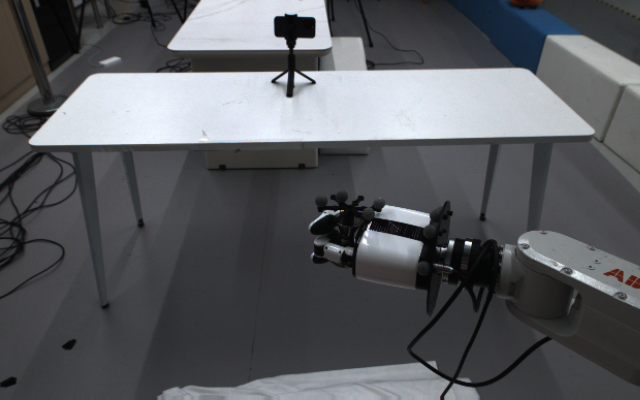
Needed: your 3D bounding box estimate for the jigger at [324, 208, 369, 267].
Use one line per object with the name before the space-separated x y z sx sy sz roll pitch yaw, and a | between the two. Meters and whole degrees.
jigger | 0.042 0.056 0.698 0.043 0.071 0.043 3 25 -1
